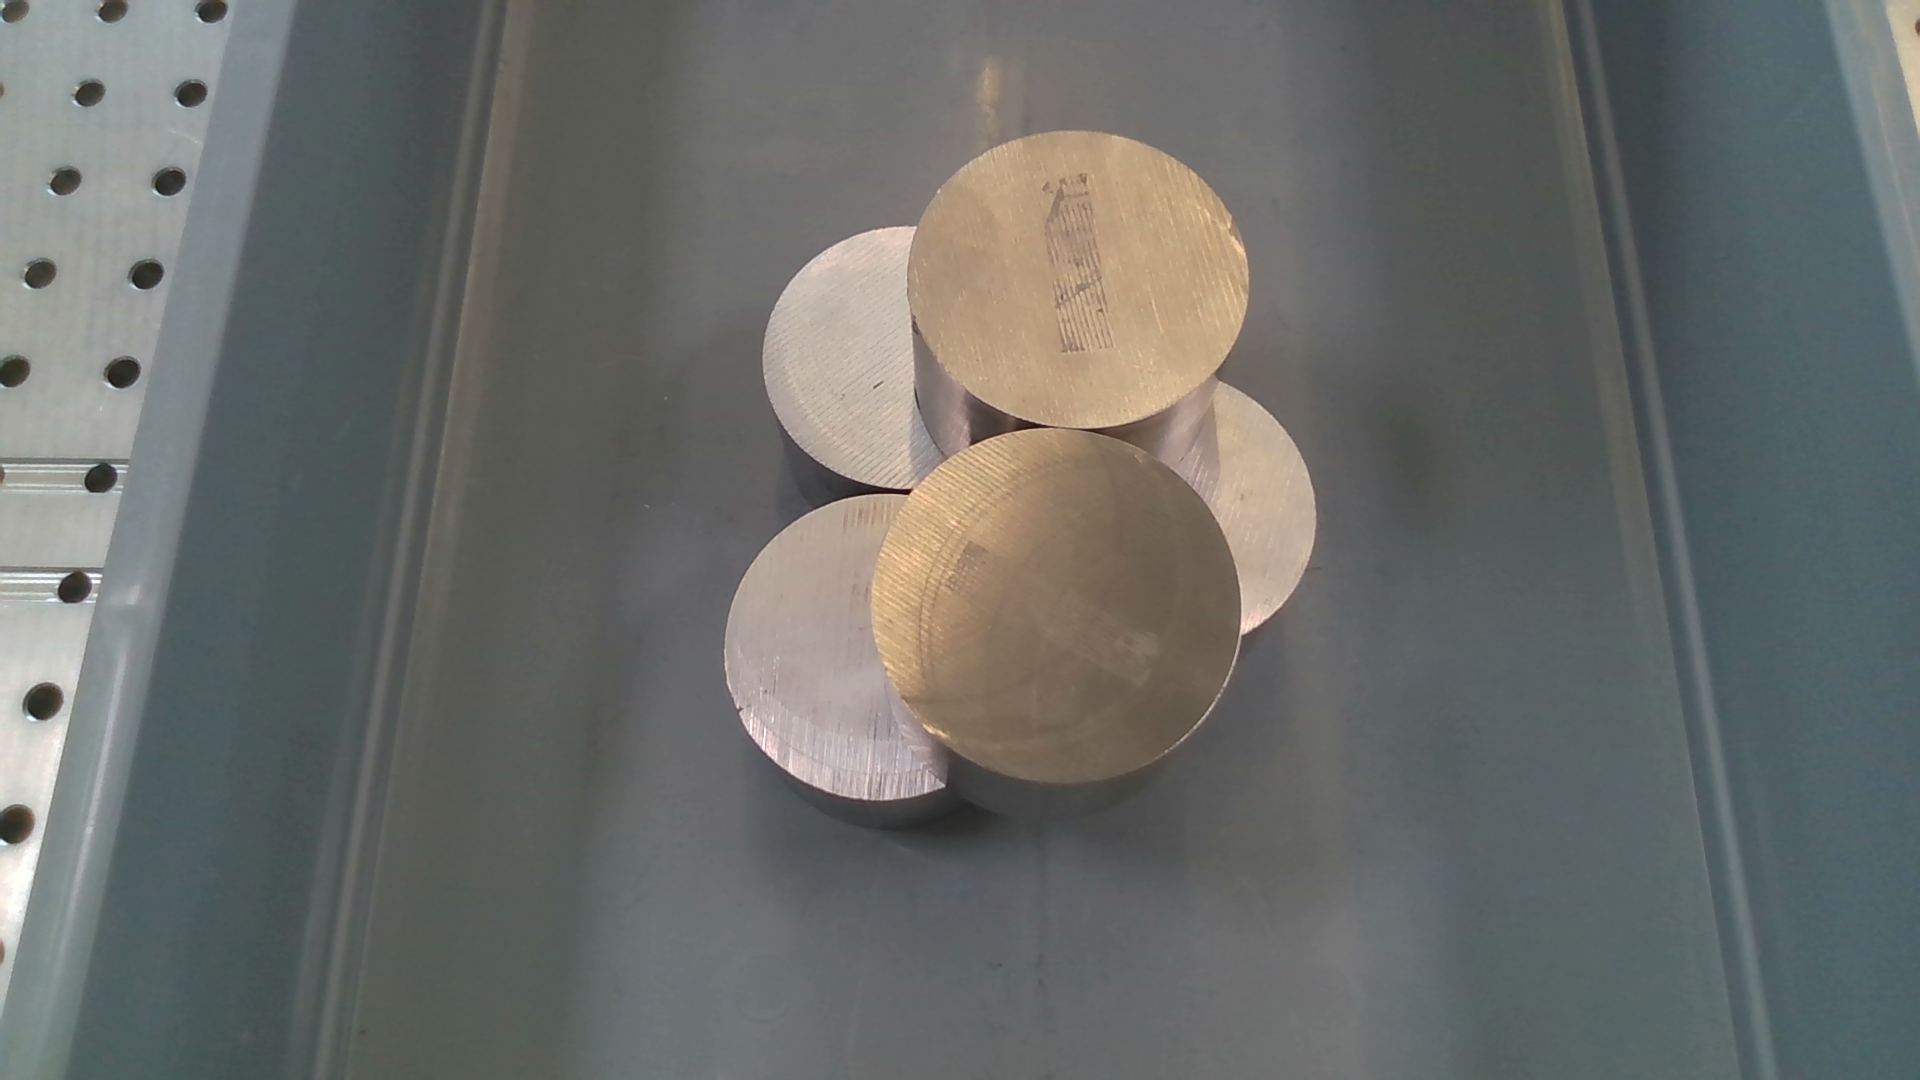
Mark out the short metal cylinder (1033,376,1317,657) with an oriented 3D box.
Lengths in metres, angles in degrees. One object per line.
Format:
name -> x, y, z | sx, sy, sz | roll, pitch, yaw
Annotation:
short metal cylinder -> 0.053, -0.001, 0.382 | 0.080, 0.050, 0.080 | 0, 70, 0

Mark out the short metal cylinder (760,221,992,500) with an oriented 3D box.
short metal cylinder -> -0.014, -0.043, 0.396 | 0.080, 0.050, 0.080 | 0, 70, 0

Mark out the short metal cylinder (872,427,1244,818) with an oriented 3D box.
short metal cylinder -> 0.021, 0.021, 0.320 | 0.080, 0.050, 0.080 | 0, 70, 0

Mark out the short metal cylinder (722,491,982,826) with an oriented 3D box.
short metal cylinder -> -0.020, 0.033, 0.369 | 0.080, 0.050, 0.080 | 0, 70, 0

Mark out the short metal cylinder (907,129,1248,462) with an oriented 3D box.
short metal cylinder -> 0.028, -0.055, 0.347 | 0.080, 0.050, 0.080 | 0, 70, 0
